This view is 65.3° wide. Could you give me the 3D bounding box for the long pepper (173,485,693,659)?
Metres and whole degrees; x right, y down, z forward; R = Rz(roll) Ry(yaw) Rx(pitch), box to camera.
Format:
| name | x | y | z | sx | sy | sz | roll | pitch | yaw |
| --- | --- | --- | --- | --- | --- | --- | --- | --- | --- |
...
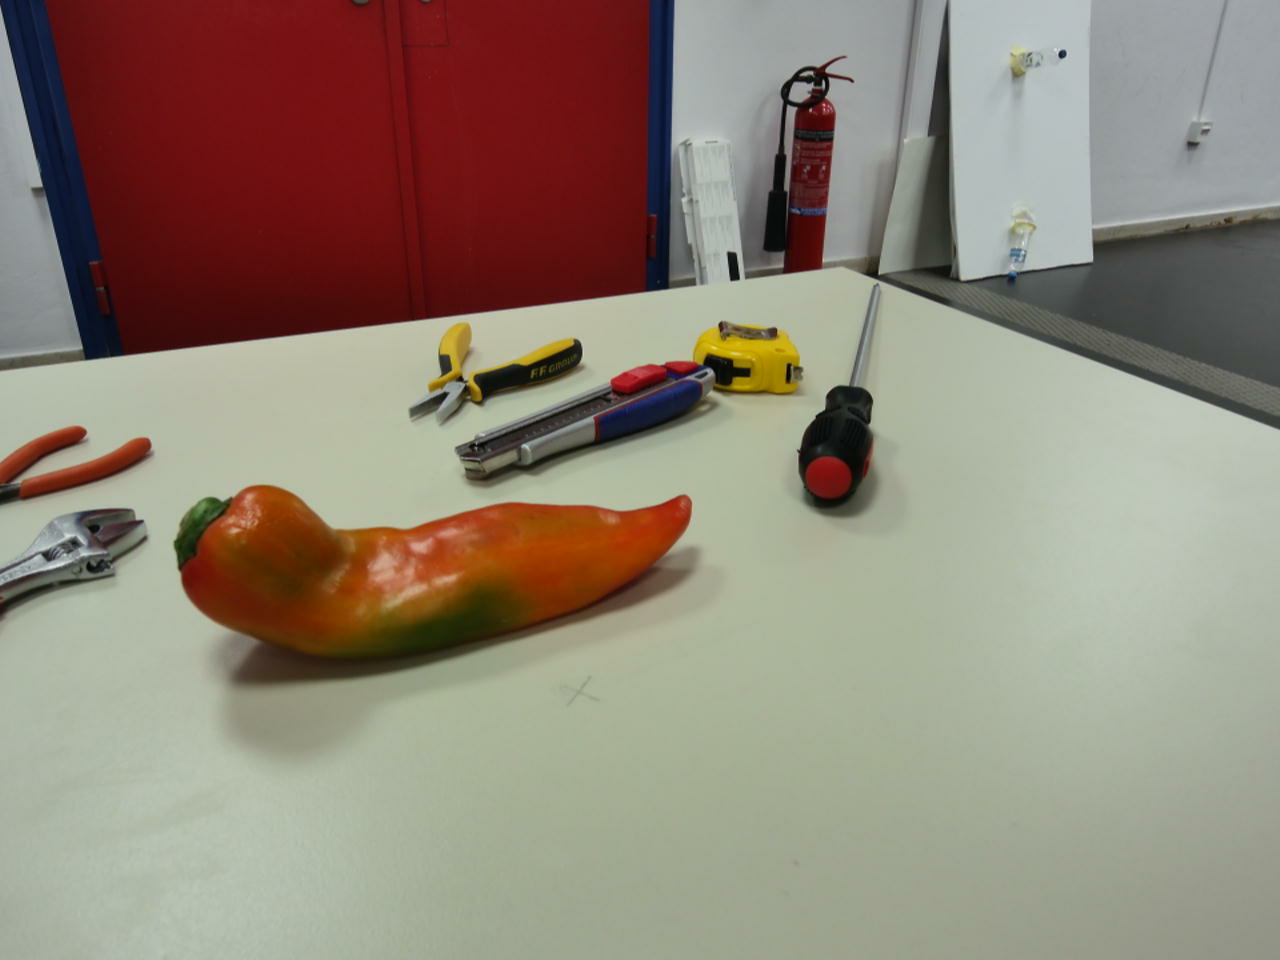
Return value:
| name | x | y | z | sx | sy | sz | roll | pitch | yaw |
| --- | --- | --- | --- | --- | --- | --- | --- | --- | --- |
| long pepper | -0.069 | 0.022 | 0.383 | 0.199 | 0.065 | 0.066 | -9 | 26 | -20 |
